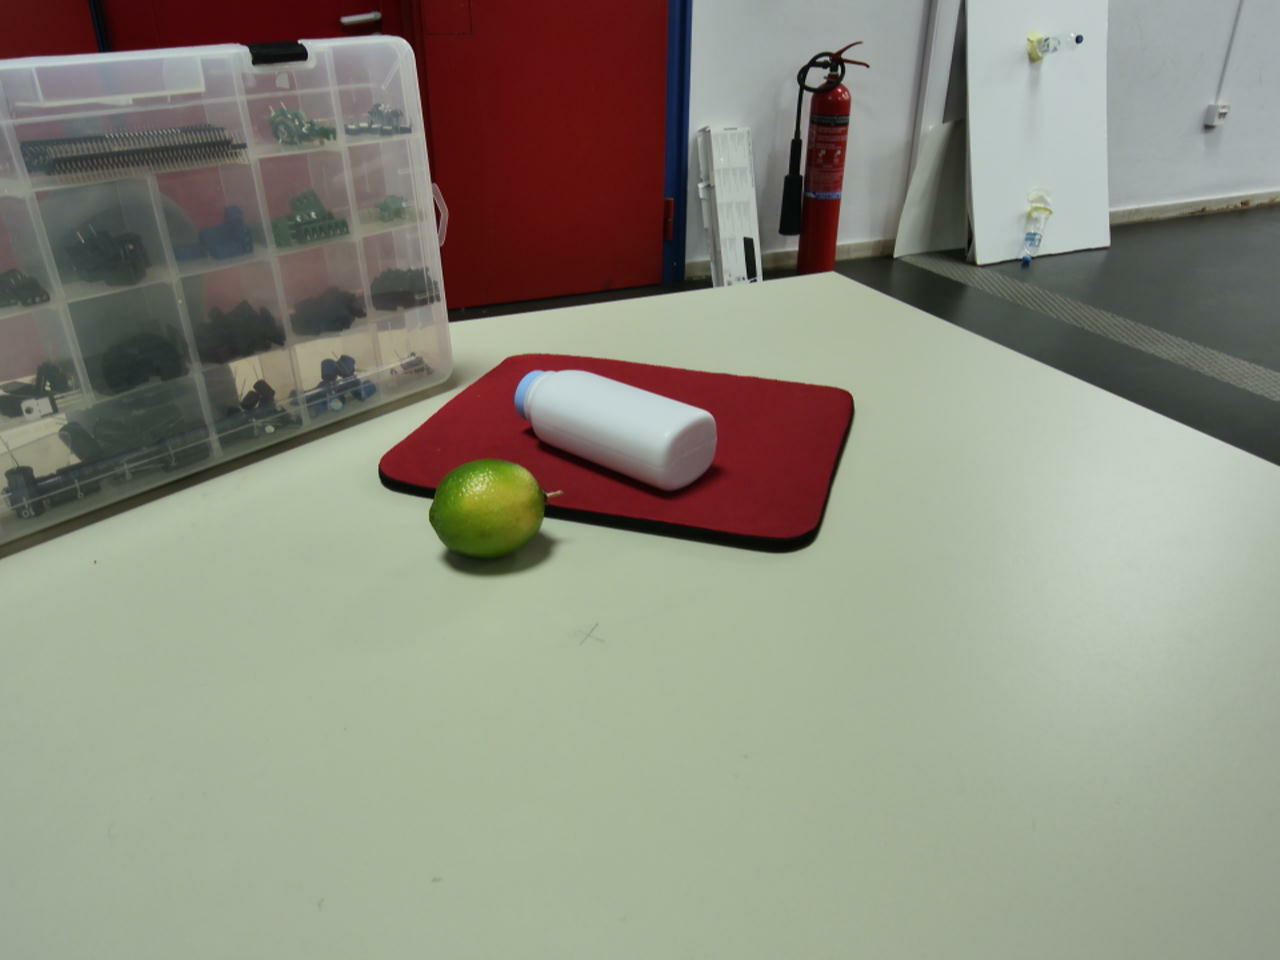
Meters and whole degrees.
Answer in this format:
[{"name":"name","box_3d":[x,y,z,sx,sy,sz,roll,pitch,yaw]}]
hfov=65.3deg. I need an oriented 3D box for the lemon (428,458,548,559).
[{"name":"lemon","box_3d":[-0.078,0.014,0.513,0.055,0.050,0.054,11,28,22]}]
